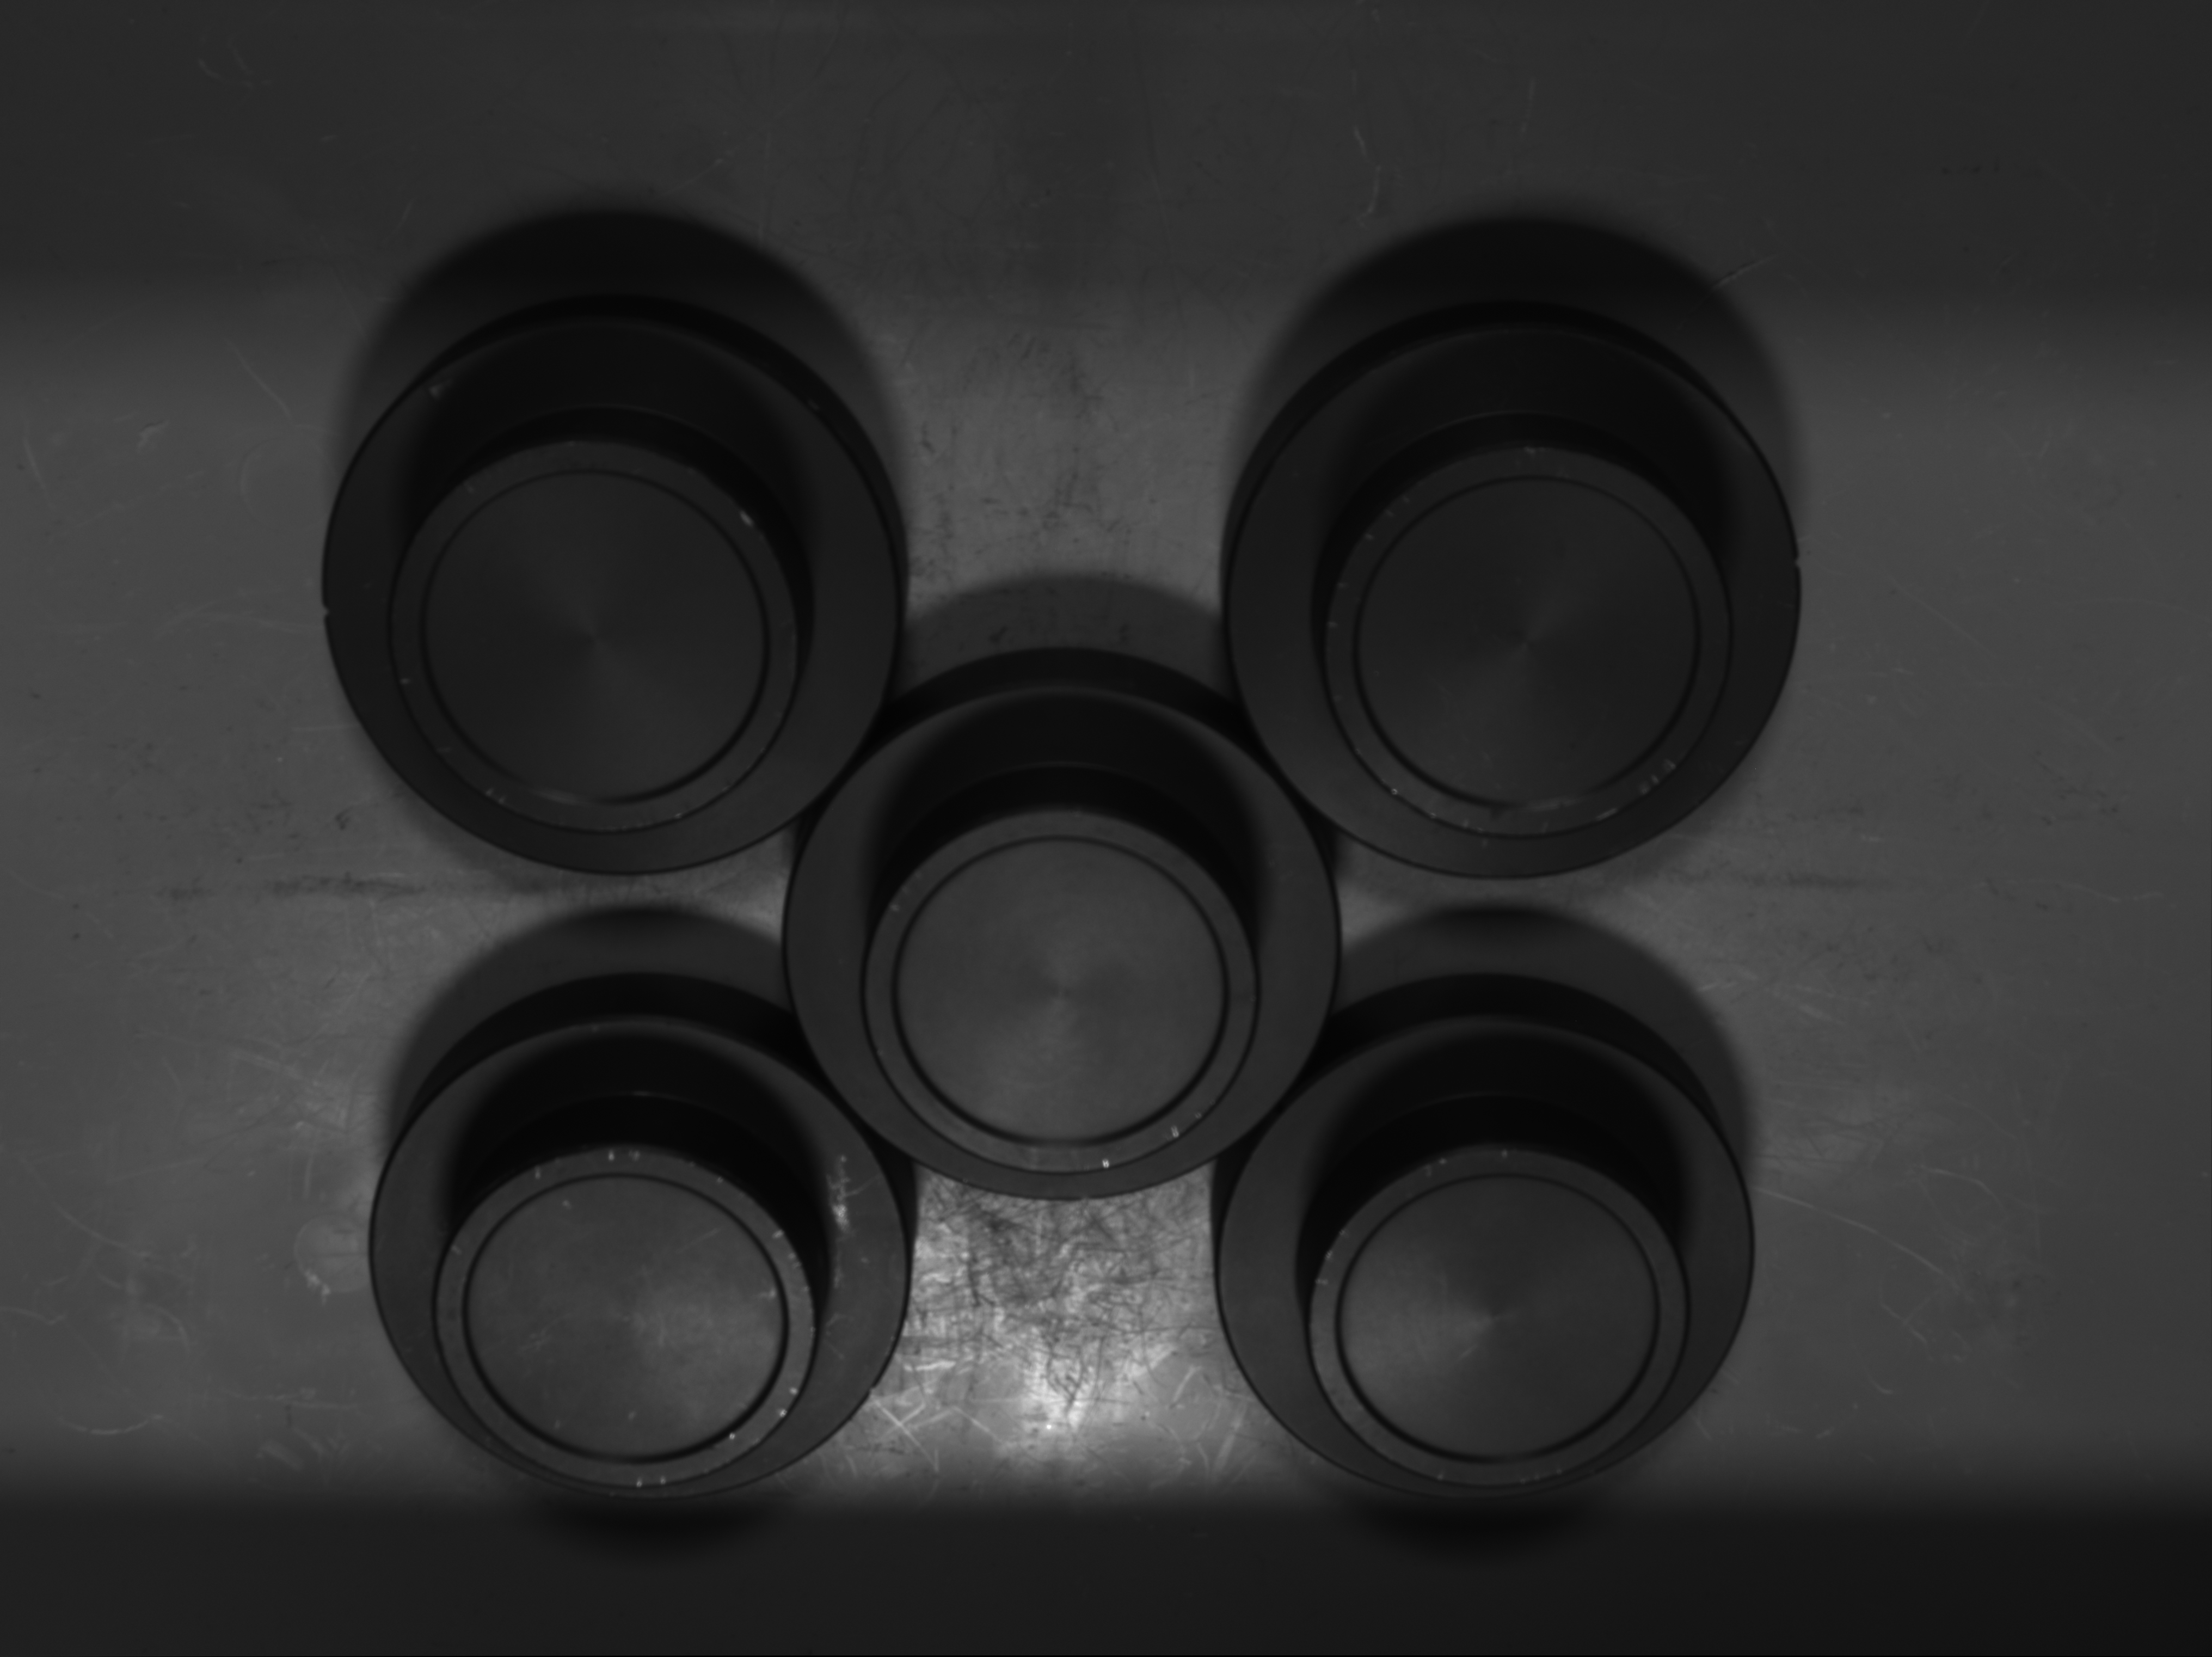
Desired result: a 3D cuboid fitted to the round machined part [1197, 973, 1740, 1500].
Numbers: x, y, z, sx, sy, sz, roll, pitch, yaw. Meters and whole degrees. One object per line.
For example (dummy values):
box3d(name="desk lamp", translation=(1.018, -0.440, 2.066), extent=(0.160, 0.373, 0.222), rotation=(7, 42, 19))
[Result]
box3d(name="round machined part", translation=(0.066, 0.079, 0.663), extent=(0.098, 0.042, 0.098), rotation=(0, 110, -1))

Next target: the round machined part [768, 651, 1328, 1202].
box3d(name="round machined part", translation=(-0.010, 0.022, 0.640), extent=(0.098, 0.042, 0.098), rotation=(0, 110, -1))

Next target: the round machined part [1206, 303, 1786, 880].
box3d(name="round machined part", translation=(0.067, -0.037, 0.621), extent=(0.098, 0.042, 0.098), rotation=(0, 110, -1))

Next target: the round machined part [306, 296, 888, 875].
box3d(name="round machined part", translation=(-0.086, -0.038, 0.618), extent=(0.098, 0.042, 0.098), rotation=(0, 110, -1))

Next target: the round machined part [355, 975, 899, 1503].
box3d(name="round machined part", translation=(-0.087, 0.079, 0.661), extent=(0.098, 0.042, 0.098), rotation=(0, 110, -1))
